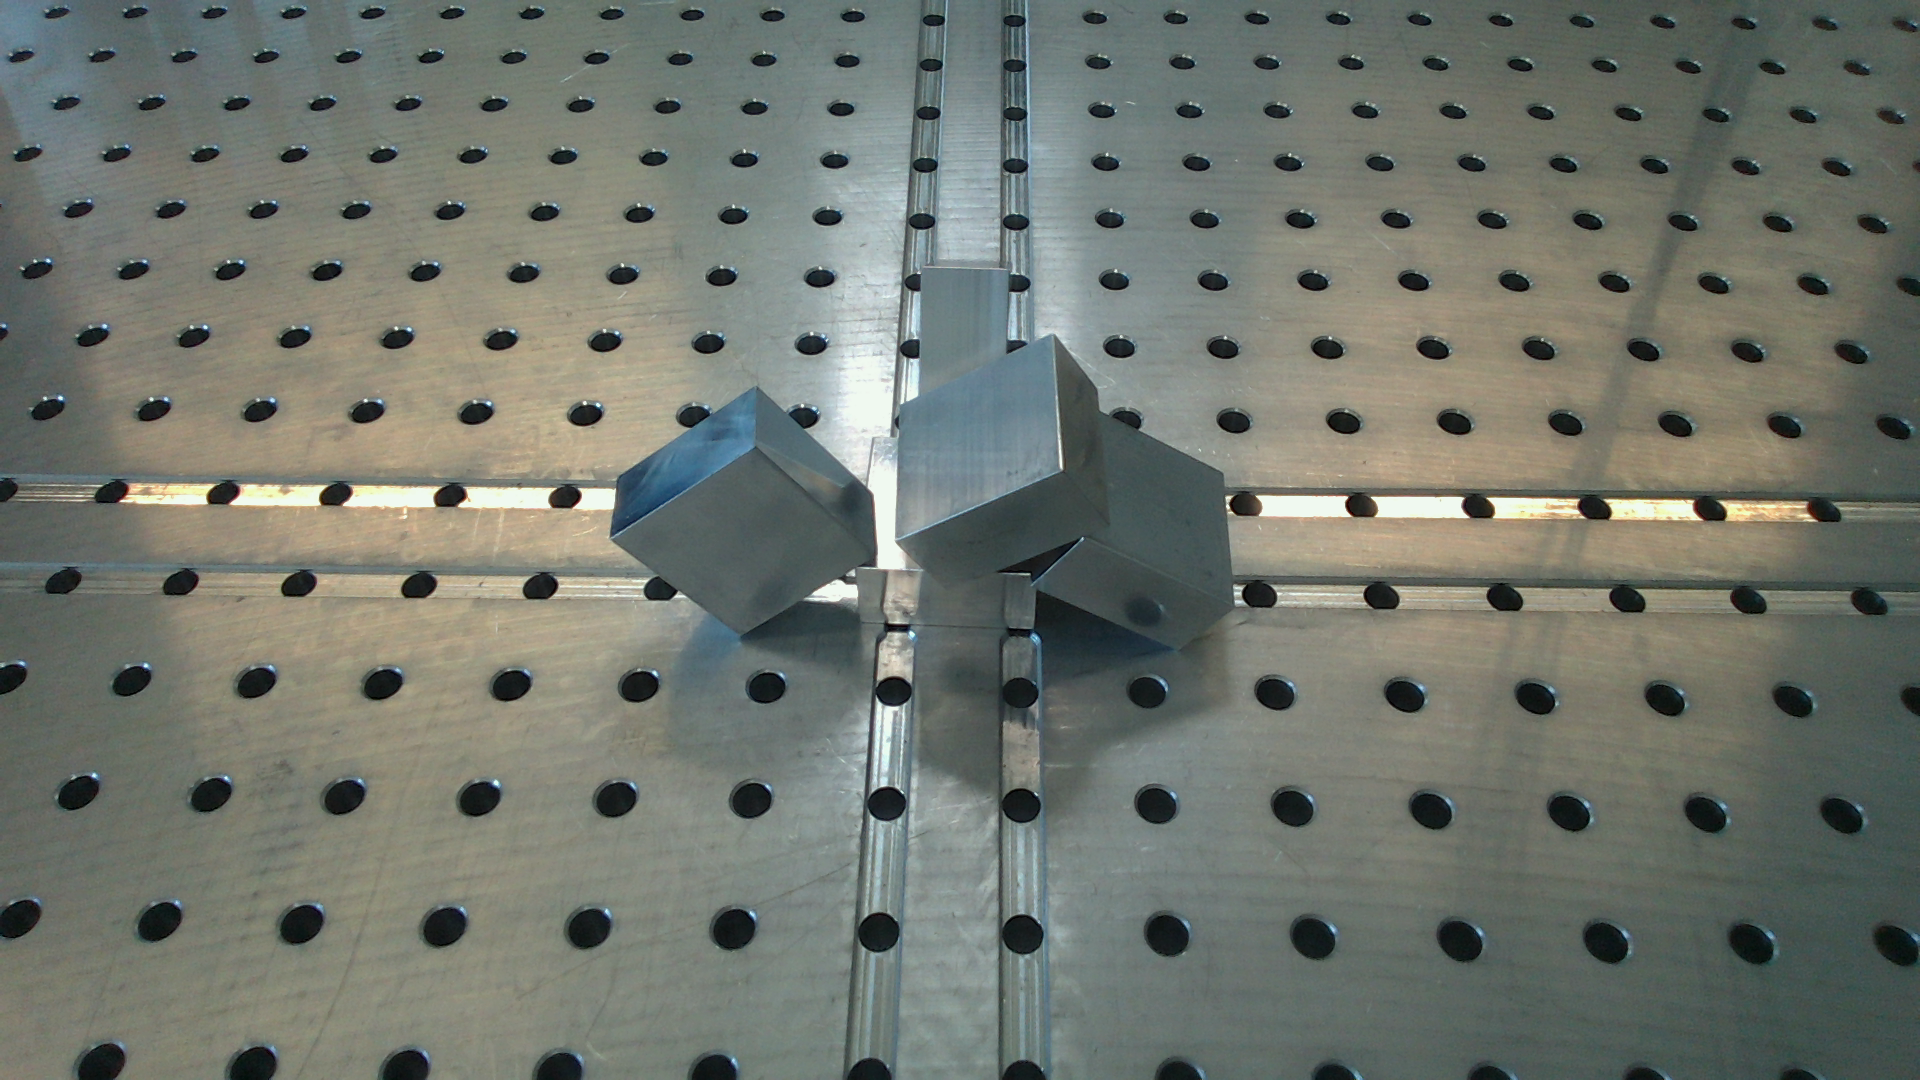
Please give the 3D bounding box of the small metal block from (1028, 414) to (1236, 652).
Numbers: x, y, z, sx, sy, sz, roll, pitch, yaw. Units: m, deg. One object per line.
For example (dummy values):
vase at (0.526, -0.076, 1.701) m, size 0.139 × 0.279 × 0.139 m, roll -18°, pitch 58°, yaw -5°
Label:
small metal block at (0.047, -0.003, 0.383) m, size 0.050 × 0.025 × 0.050 m, roll 23°, pitch 46°, yaw -21°

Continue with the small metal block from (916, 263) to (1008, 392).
small metal block at (0.001, -0.058, 0.414) m, size 0.025 × 0.050 × 0.050 m, roll 2°, pitch 14°, yaw 3°

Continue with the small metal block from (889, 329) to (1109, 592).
small metal block at (0.010, -0.021, 0.364) m, size 0.050 × 0.025 × 0.050 m, roll -23°, pitch 45°, yaw 24°

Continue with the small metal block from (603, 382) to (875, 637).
small metal block at (-0.059, -0.007, 0.371) m, size 0.050 × 0.050 × 0.025 m, roll -30°, pitch 40°, yaw 21°

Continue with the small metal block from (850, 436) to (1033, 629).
small metal block at (-0.004, -0.003, 0.397) m, size 0.050 × 0.025 × 0.050 m, roll 2°, pitch 50°, yaw 2°
